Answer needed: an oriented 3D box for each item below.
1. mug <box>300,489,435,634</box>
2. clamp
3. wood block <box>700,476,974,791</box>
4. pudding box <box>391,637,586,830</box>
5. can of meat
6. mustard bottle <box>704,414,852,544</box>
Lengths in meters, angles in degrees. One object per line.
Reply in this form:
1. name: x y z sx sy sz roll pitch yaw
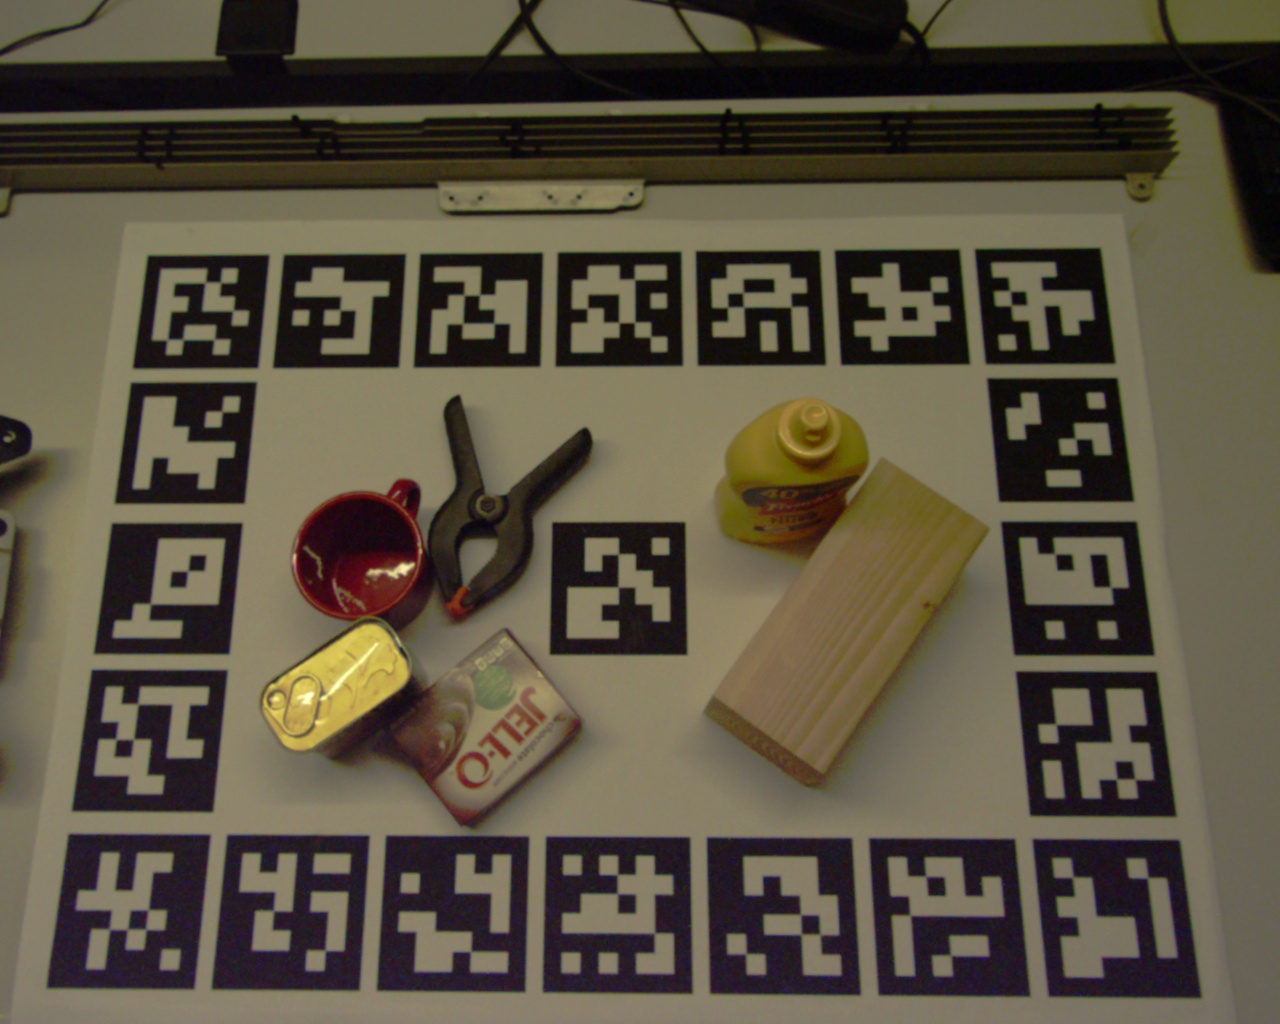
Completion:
1. mug: -0.198 0.039 0.874 0.093 0.081 0.117 21 77 6
2. clamp: -0.116 0.000 0.888 0.122 0.036 0.165 18 77 4
3. wood block: 0.140 0.089 0.830 0.090 0.091 0.206 35 76 11
4. pudding box: -0.110 0.162 0.837 0.113 0.038 0.090 -40 78 -11
5. can of meat: -0.208 0.135 0.818 0.101 0.083 0.058 -30 78 -8
6. mustard bottle: 0.098 -0.026 0.805 0.096 0.191 0.058 -5 75 -1
